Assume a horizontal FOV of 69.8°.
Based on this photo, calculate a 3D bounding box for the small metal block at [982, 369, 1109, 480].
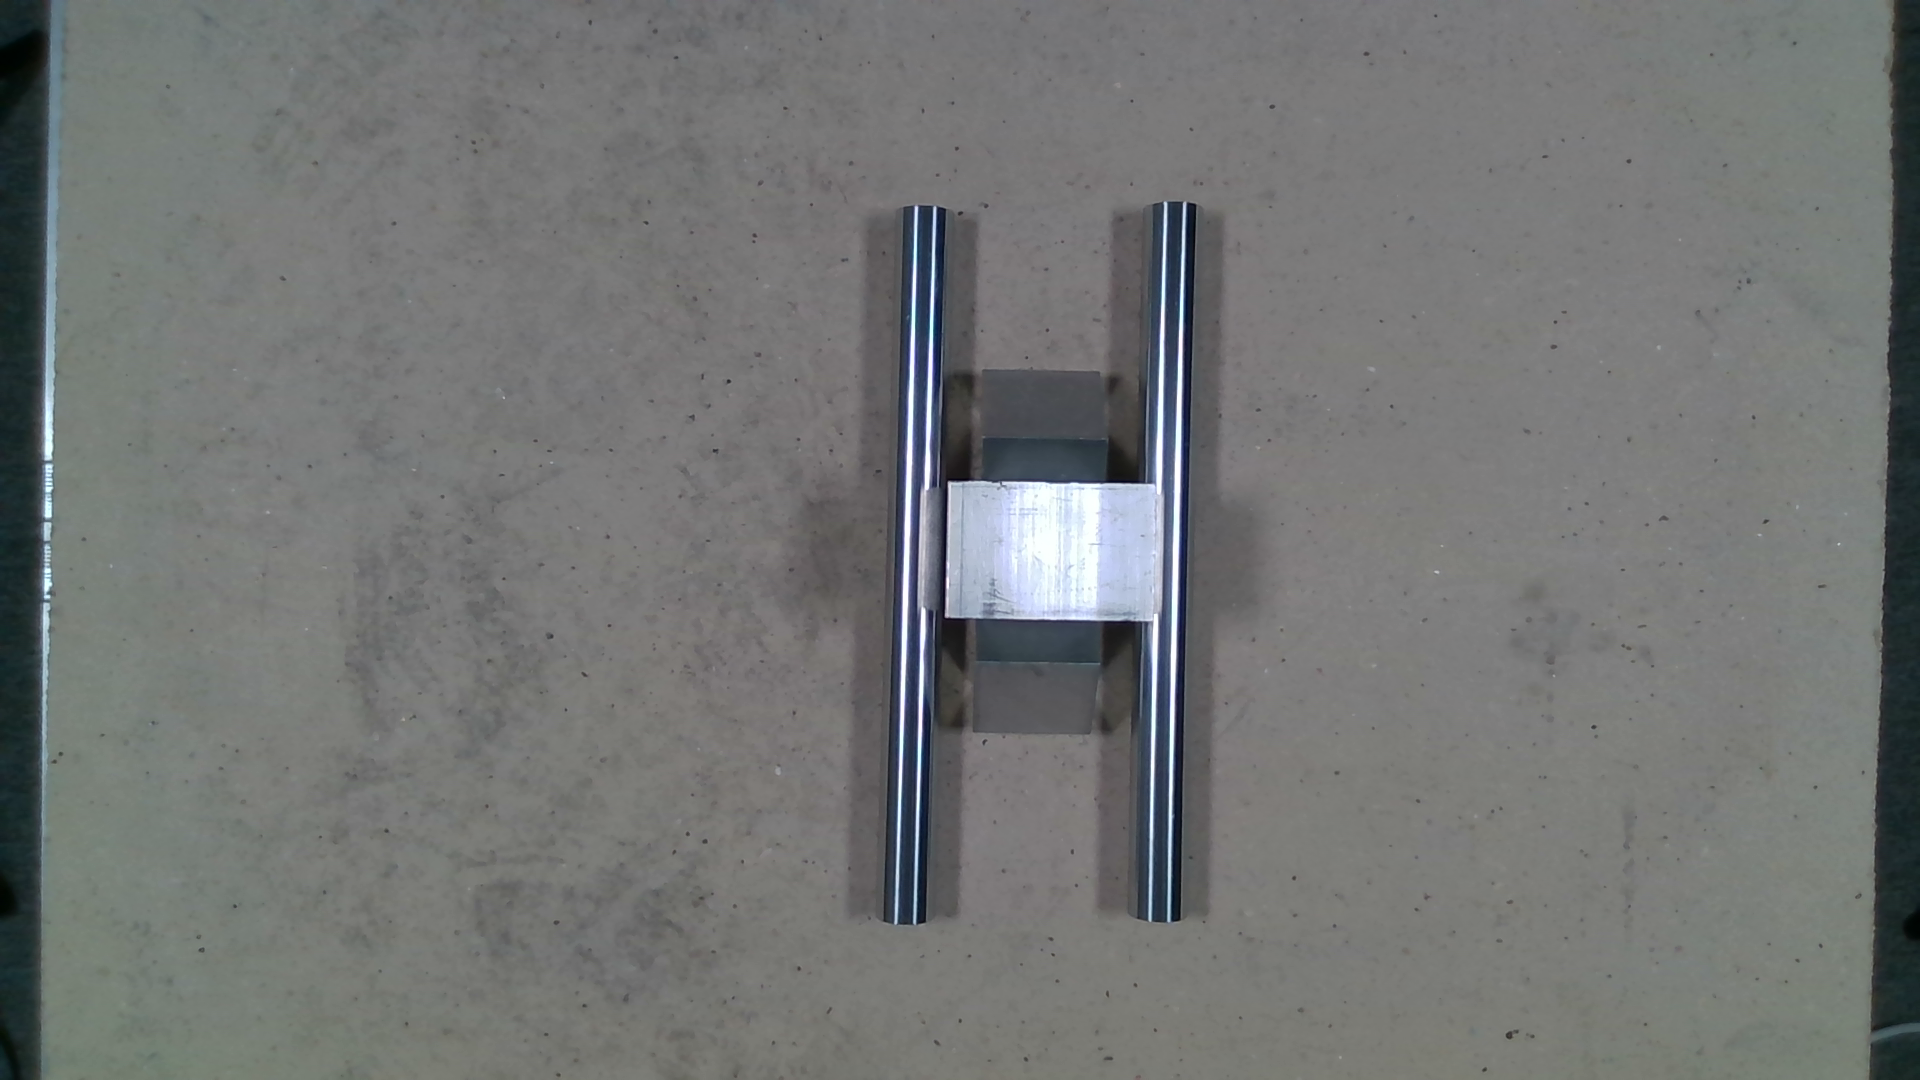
[{"bbox_3d":[0.034,-0.047,0.573,0.050,0.050,0.025,1,129,0],"label":"small metal block"}]

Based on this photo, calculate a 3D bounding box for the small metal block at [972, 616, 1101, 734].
[{"bbox_3d":[0.031,0.056,0.574,0.050,0.050,0.025,1,49,-1],"label":"small metal block"}]

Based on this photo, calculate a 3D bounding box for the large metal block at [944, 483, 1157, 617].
[{"bbox_3d":[0.034,0.004,0.562,0.080,0.080,0.050,1,90,0],"label":"large metal block"}]

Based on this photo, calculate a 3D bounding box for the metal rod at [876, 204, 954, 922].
[{"bbox_3d":[-0.019,0.010,0.587,0.025,0.025,0.300,2,91,0],"label":"metal rod"}]

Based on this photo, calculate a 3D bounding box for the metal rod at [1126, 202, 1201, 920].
[{"bbox_3d":[0.087,0.009,0.587,0.025,0.025,0.300,1,91,0],"label":"metal rod"}]
